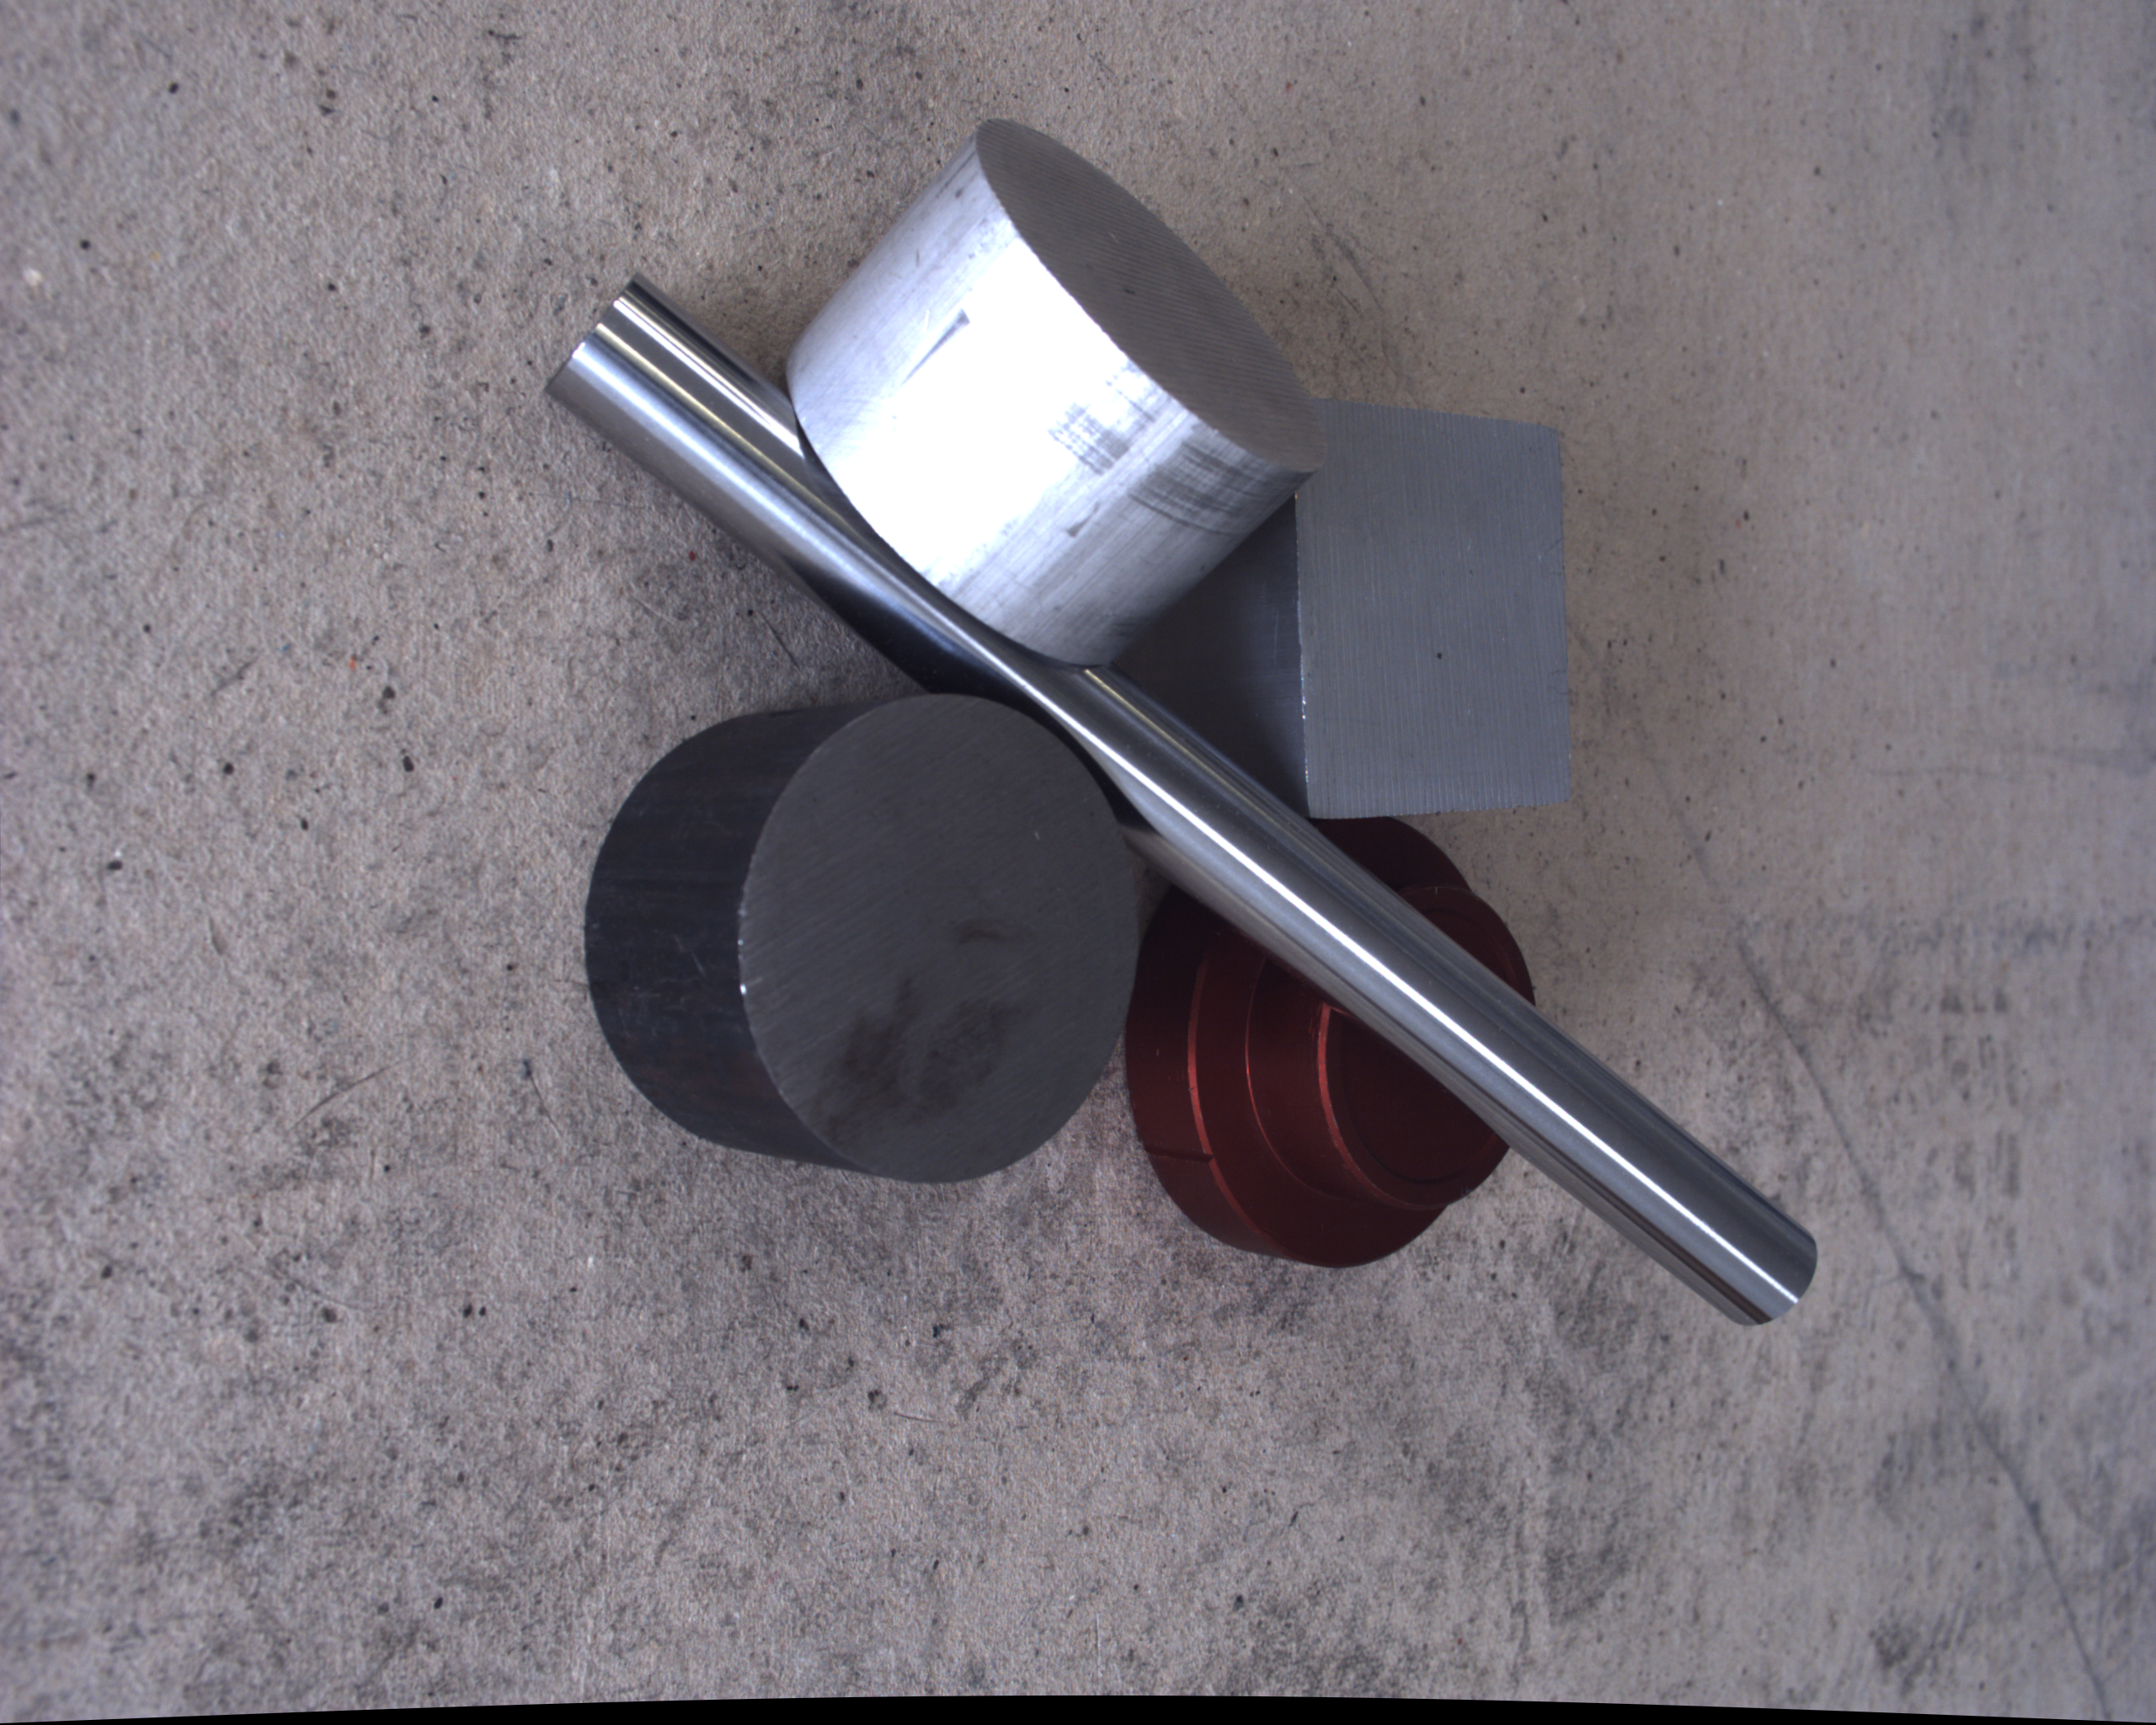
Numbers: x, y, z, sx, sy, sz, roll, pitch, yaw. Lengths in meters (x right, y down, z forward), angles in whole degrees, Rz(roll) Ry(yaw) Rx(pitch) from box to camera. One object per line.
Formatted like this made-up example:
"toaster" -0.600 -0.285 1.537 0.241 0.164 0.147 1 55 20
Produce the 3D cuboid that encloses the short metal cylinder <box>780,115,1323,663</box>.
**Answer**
"short metal cylinder" -0.004 -0.081 0.362 0.080 0.050 0.080 36 29 -23

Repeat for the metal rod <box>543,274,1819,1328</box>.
"metal rod" 0.033 0.000 0.389 0.301 0.025 0.025 38 66 -19

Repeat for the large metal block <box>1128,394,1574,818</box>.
"large metal block" 0.057 -0.051 0.434 0.081 0.050 0.079 -4 93 -40

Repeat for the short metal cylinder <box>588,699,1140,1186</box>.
"short metal cylinder" -0.036 0.013 0.361 0.081 0.050 0.080 0 90 -40

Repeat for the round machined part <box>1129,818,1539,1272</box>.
"round machined part" 0.061 0.039 0.445 0.099 0.042 0.097 0 90 -40
